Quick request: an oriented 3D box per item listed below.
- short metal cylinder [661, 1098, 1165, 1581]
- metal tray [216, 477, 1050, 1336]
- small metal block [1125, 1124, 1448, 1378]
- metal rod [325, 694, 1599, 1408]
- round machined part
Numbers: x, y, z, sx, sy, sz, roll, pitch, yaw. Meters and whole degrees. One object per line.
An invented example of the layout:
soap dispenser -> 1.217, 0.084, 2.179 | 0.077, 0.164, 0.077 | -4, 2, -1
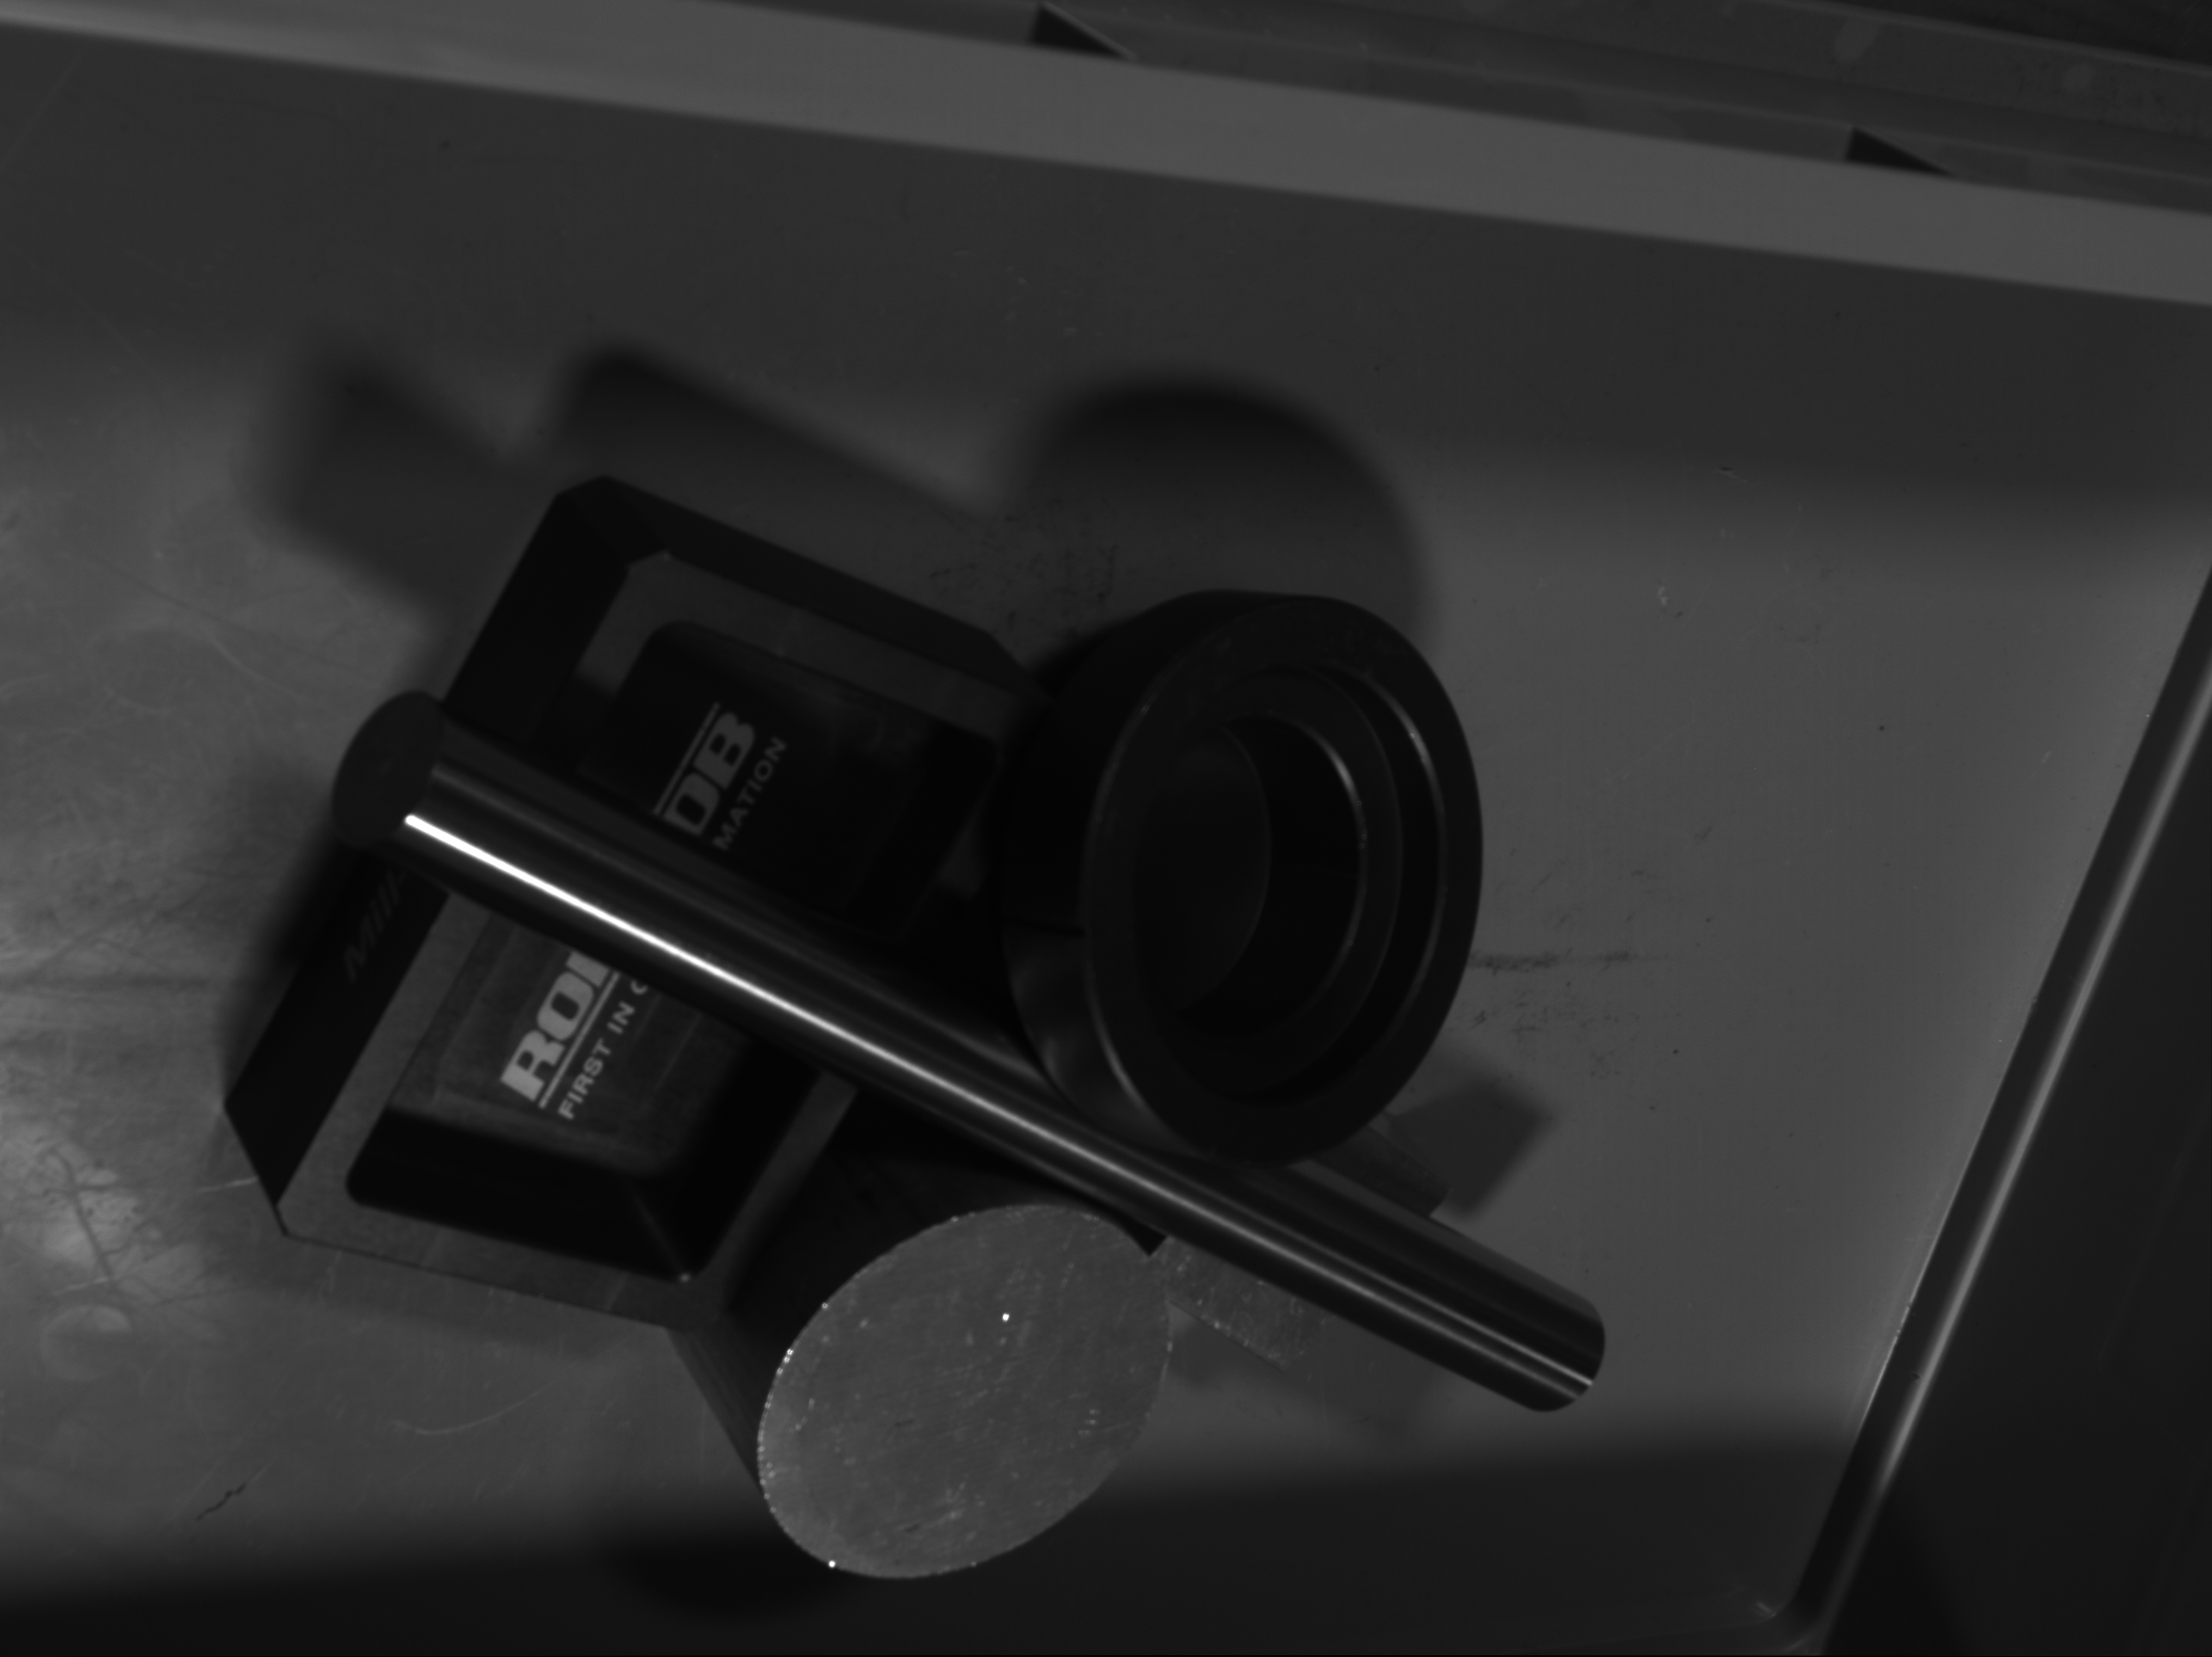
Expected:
short metal cylinder -> -0.036, 0.089, 0.666 | 0.080, 0.050, 0.080 | -15, 125, -22
metal tray -> -0.078, 0.016, 0.609 | 0.090, 0.030, 0.130 | 21, 107, -37
small metal block -> 0.030, 0.072, 0.711 | 0.050, 0.025, 0.050 | -49, 130, 5
metal rod -> -0.009, 0.048, 0.636 | 0.301, 0.025, 0.025 | 30, 101, -42
round machined part -> 0.017, 0.008, 0.637 | 0.098, 0.042, 0.098 | -8, 101, -42
